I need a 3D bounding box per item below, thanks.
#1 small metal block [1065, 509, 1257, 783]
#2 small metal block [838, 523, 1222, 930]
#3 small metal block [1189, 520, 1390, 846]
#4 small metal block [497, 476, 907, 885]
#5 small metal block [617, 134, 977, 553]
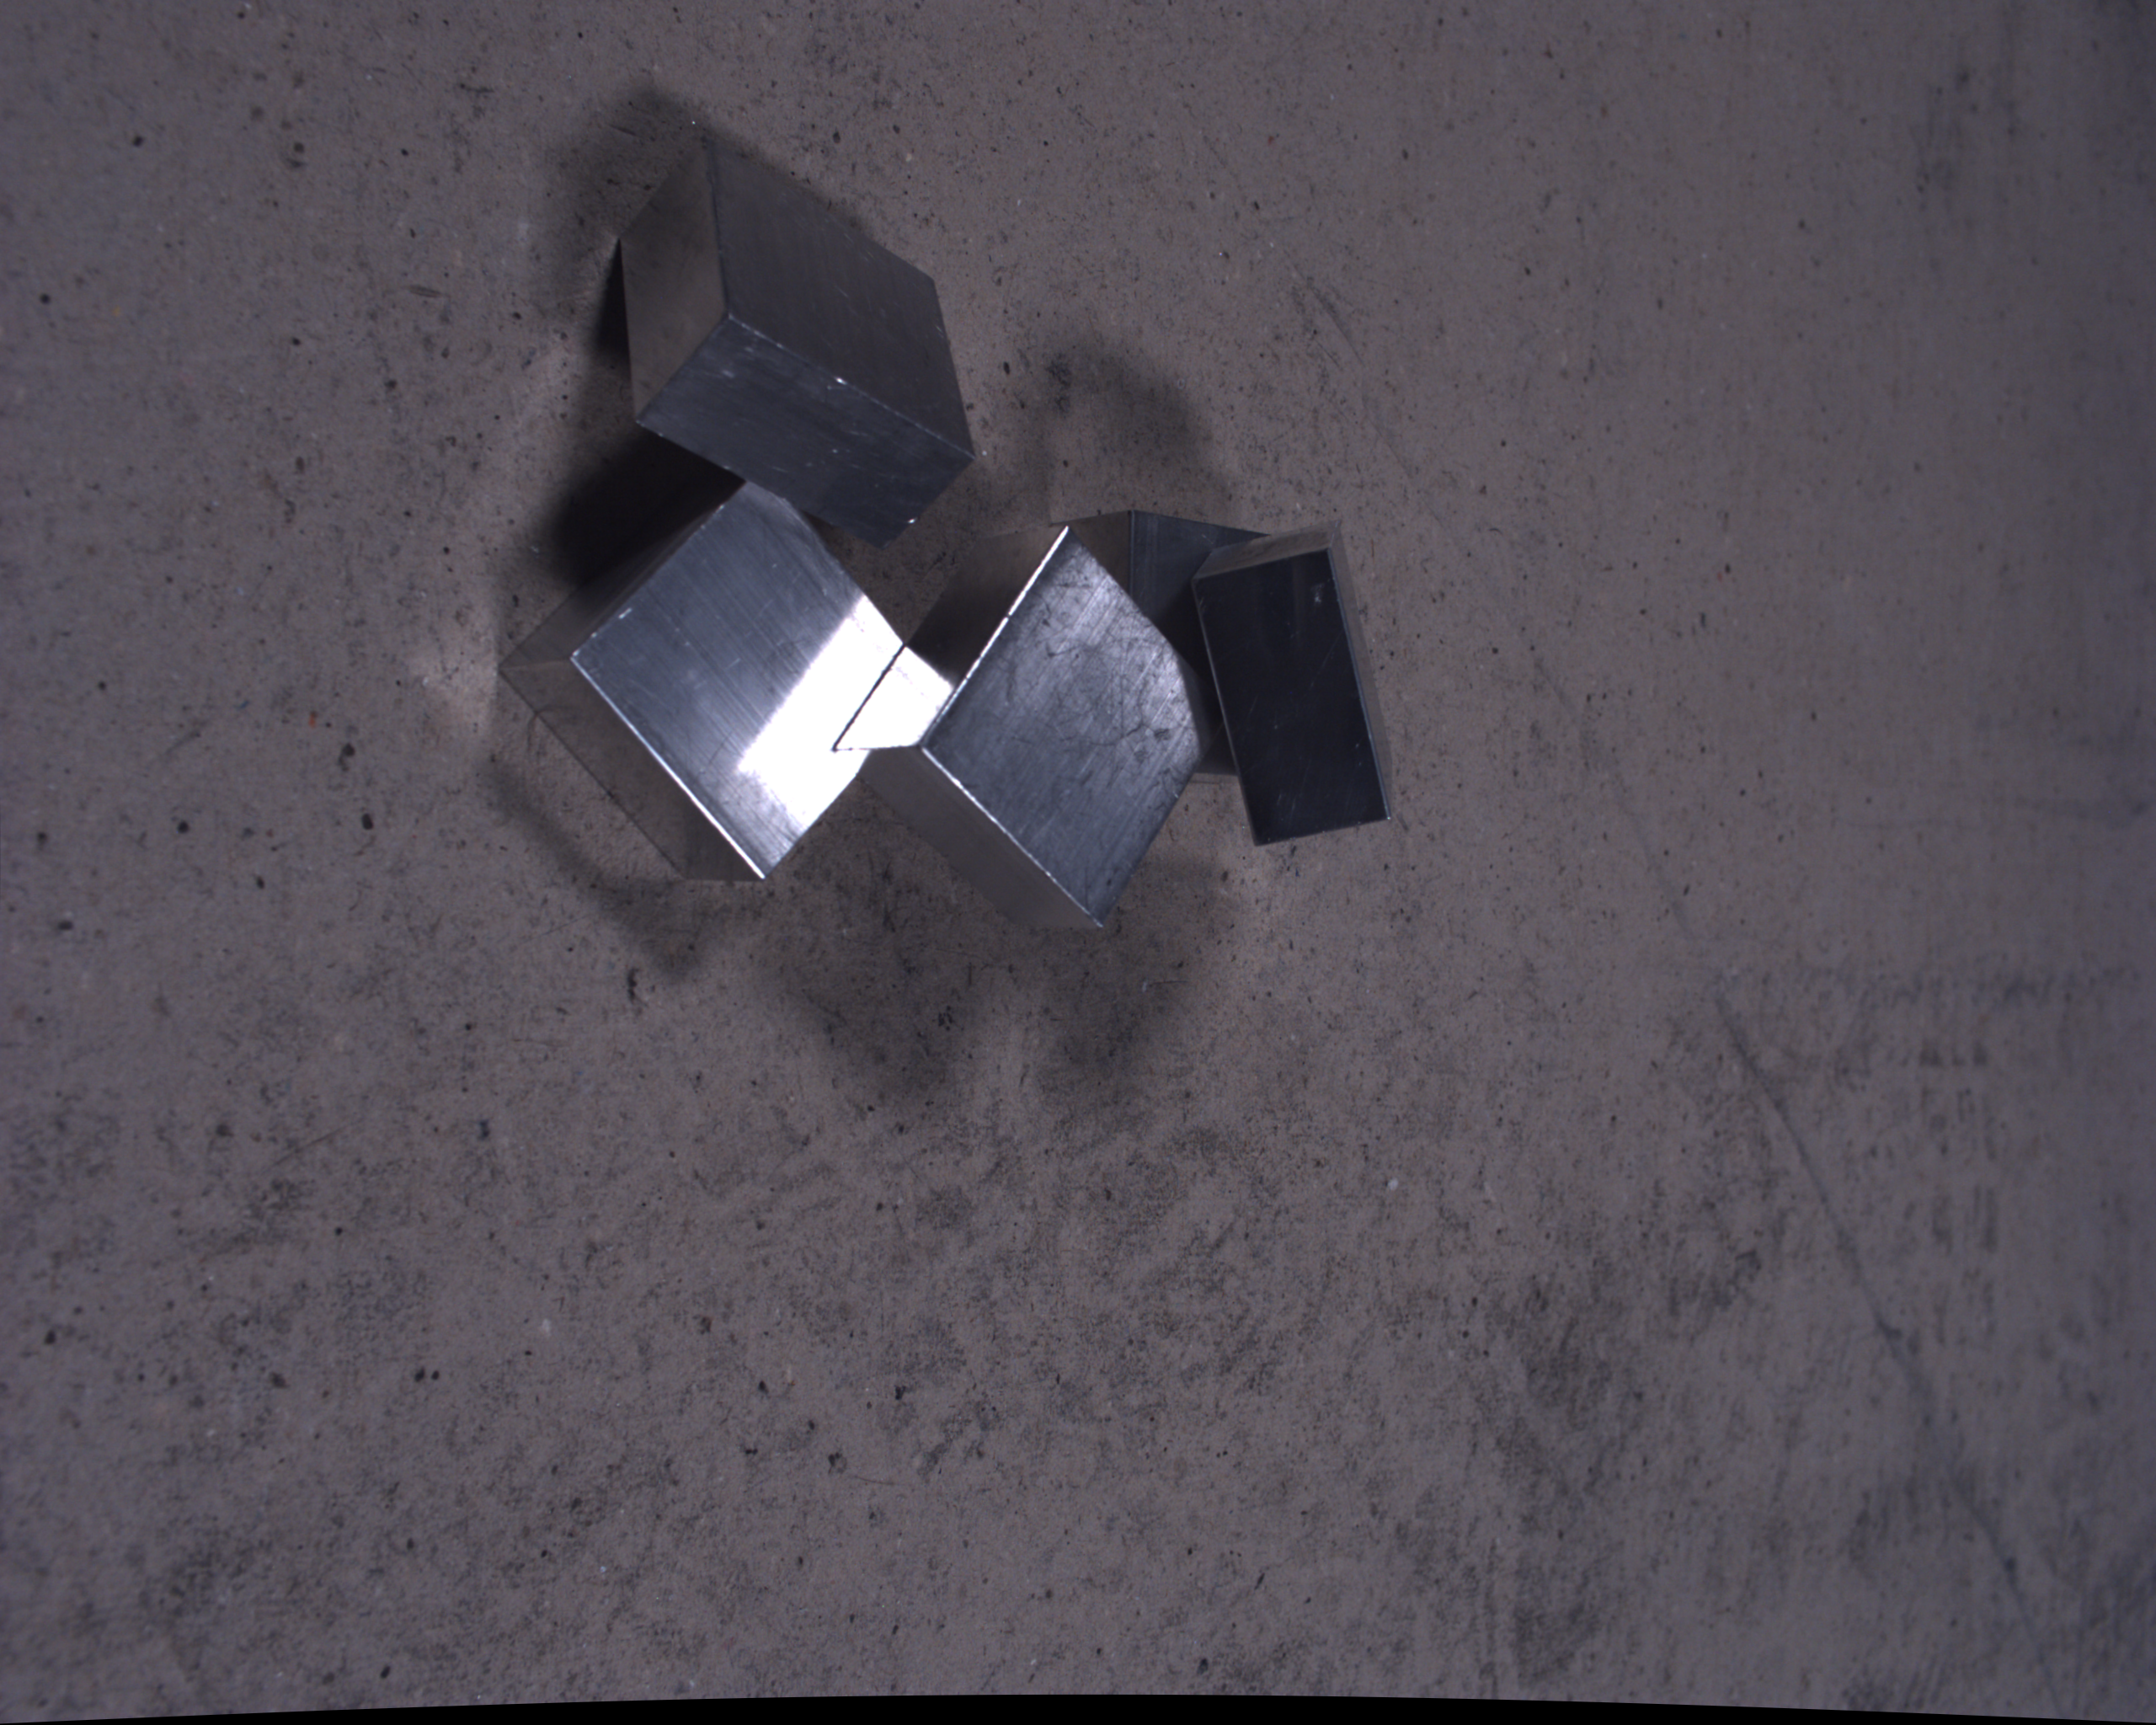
[{"bbox_3d":[0.021,-0.042,0.426,0.050,0.025,0.050,2,89,-40],"label":"small metal block"},{"bbox_3d":[-0.006,-0.023,0.369,0.050,0.025,0.050,45,63,-31],"label":"small metal block"},{"bbox_3d":[0.041,-0.035,0.394,0.050,0.025,0.050,-60,137,-73],"label":"small metal block"},{"bbox_3d":[-0.060,-0.031,0.357,0.050,0.025,0.050,-52,121,-27],"label":"small metal block"},{"bbox_3d":[-0.048,-0.087,0.352,0.050,0.025,0.050,24,38,-38],"label":"small metal block"}]
